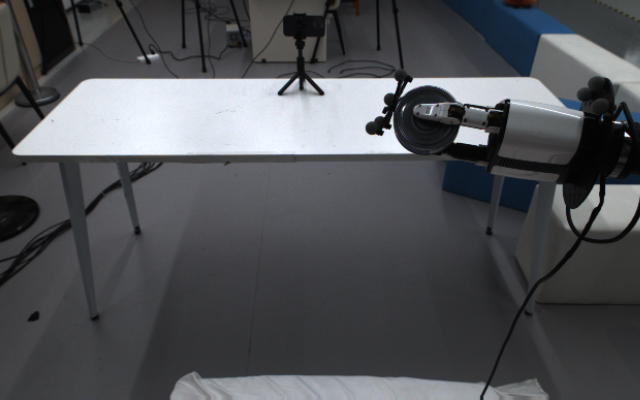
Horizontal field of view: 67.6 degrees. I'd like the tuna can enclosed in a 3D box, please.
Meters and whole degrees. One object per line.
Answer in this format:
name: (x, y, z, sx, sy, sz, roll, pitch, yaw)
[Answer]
tuna can: (0.140, -0.105, 0.630, 0.085, 0.085, 0.034, 8, -5, 9)
